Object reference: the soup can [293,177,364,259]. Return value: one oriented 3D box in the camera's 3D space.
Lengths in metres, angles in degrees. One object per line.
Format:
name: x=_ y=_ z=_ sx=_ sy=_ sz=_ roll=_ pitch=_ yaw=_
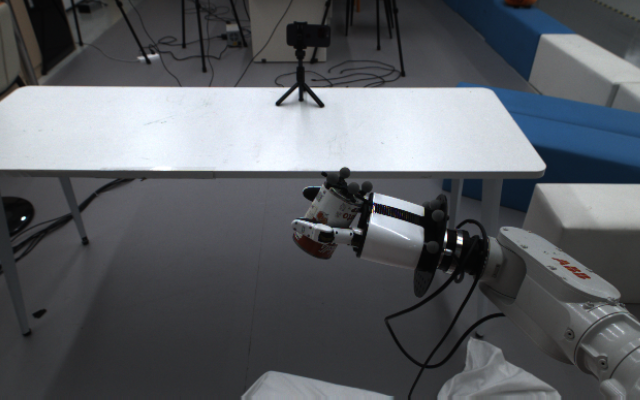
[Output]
soup can: x=0.012 y=0.029 z=0.723 sx=0.067 sy=0.101 sz=0.067 roll=27 pitch=18 yaw=-10
